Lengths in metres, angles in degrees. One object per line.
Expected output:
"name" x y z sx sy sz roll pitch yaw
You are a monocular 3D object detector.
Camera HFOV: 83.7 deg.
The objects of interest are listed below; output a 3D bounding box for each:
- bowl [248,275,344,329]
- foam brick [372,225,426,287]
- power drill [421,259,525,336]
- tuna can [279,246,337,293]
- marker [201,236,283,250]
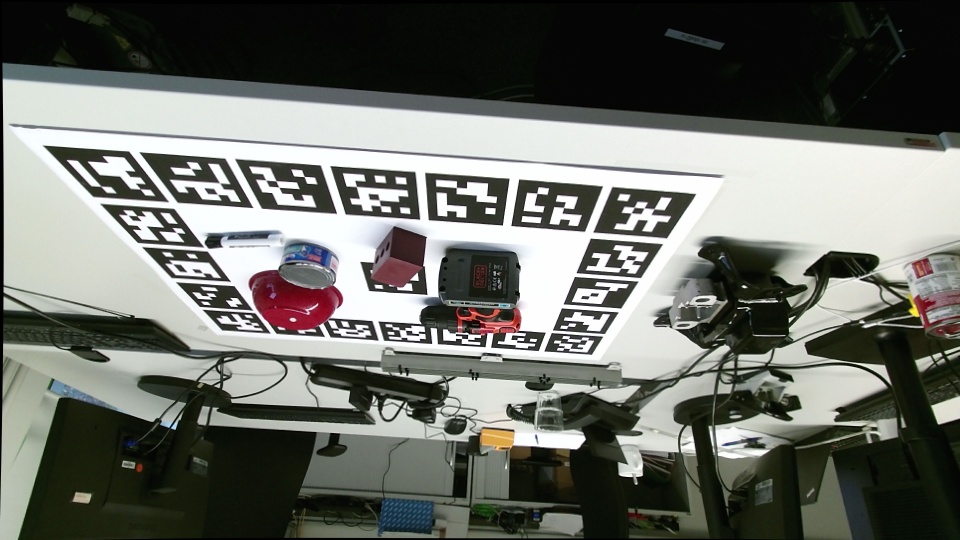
"bowl" -0.323 0.063 0.934 0.162 0.055 0.162 0 156 0
"foam brick" -0.118 -0.019 0.773 0.051 0.052 0.078 19 145 -21
"power drill" -0.009 0.051 0.869 0.185 0.057 0.187 7 151 2
"tuna can" -0.266 0.000 0.824 0.086 0.033 0.086 5 149 3
"marker" -0.349 -0.039 0.781 0.121 0.019 0.020 -1 147 8
